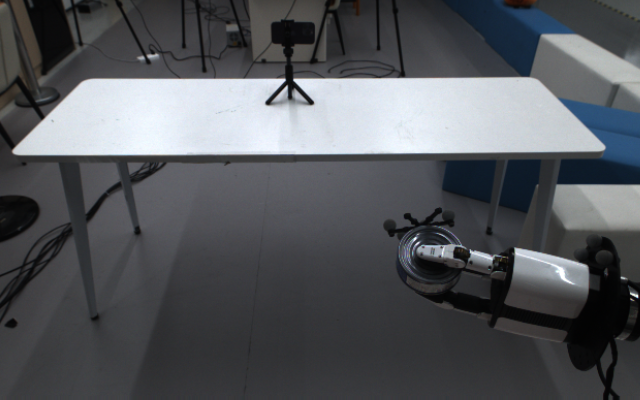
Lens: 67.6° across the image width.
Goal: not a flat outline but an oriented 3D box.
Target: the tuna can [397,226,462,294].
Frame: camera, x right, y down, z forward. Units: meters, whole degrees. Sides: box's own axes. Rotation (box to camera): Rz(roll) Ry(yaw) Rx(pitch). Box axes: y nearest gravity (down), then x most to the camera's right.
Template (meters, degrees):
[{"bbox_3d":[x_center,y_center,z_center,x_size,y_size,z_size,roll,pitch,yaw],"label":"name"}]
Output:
[{"bbox_3d":[0.145,0.075,0.624,0.085,0.034,0.085,-3,60,5],"label":"tuna can"}]
